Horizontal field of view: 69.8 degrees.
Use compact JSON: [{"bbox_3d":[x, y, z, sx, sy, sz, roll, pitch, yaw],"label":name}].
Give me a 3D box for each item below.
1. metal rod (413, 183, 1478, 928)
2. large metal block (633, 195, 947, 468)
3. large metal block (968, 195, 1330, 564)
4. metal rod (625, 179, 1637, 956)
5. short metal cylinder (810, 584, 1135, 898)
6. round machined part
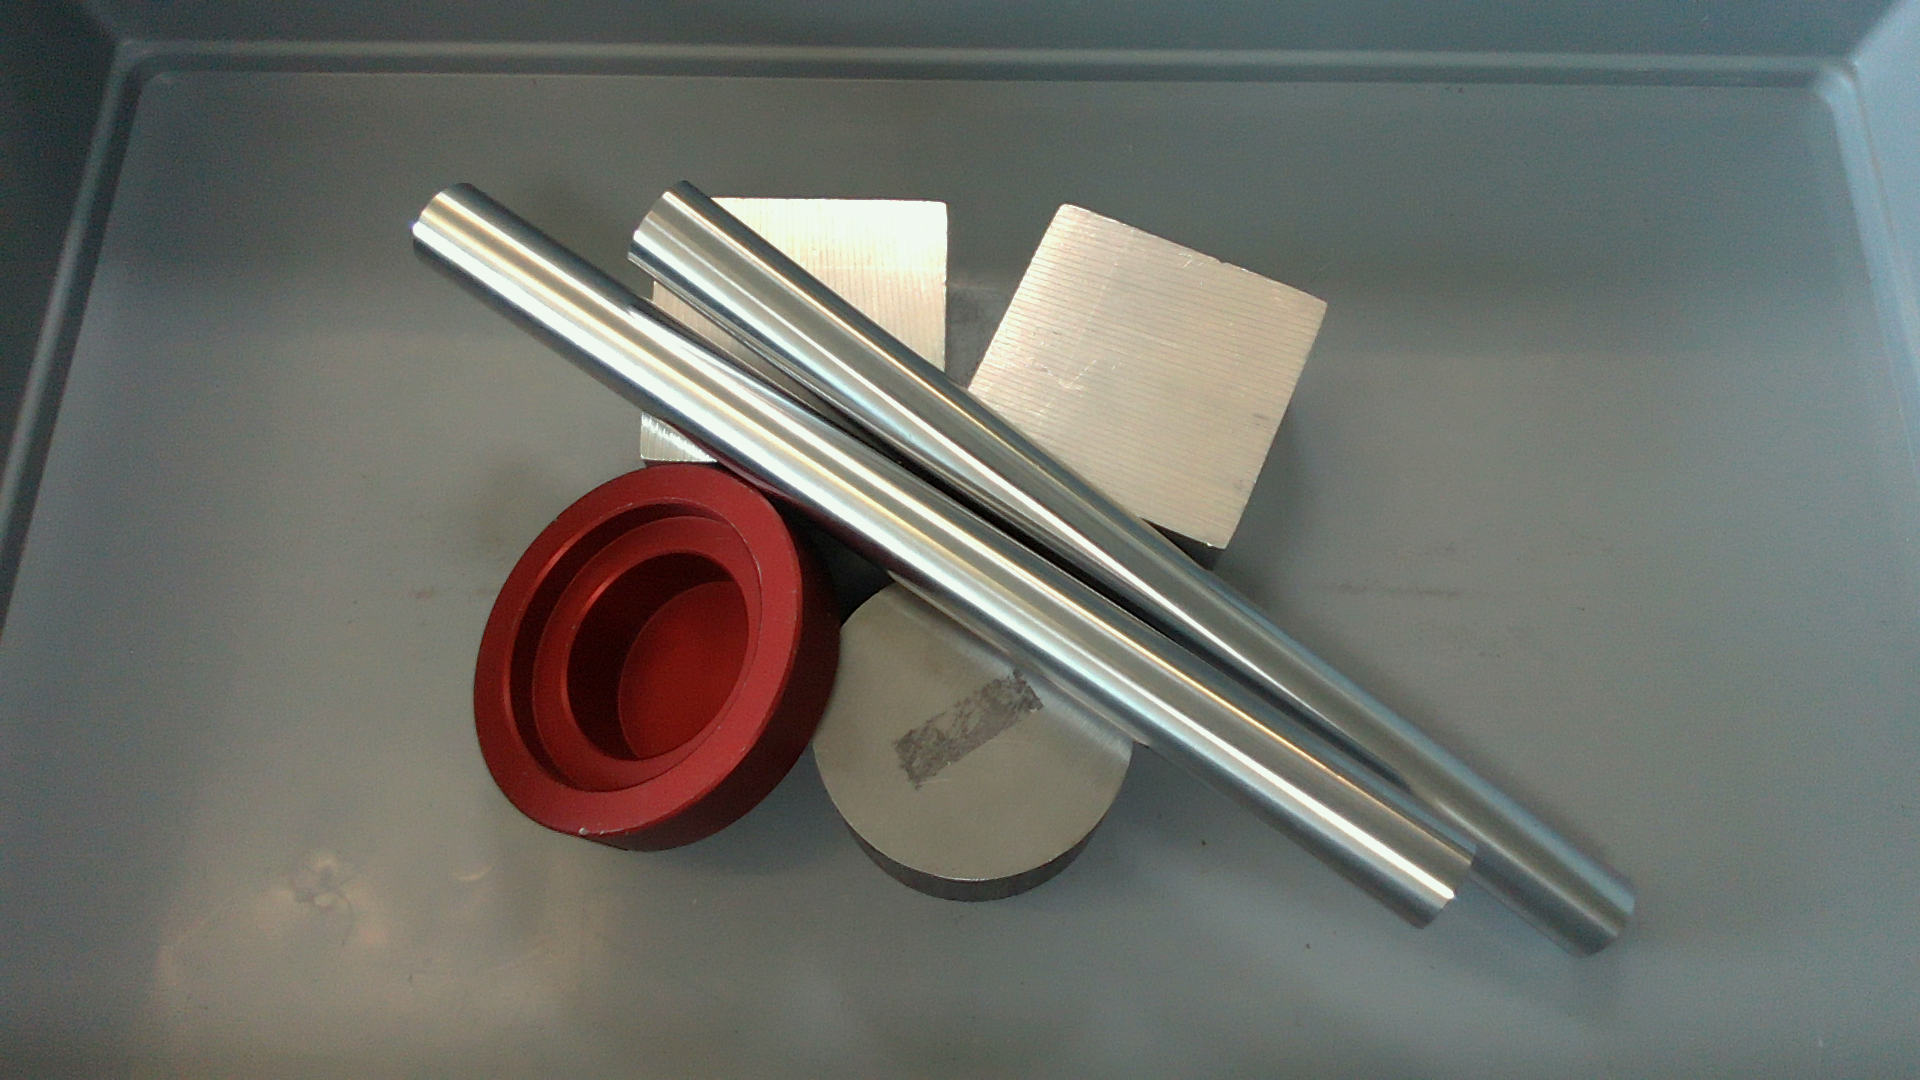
[{"bbox_3d":[-0.013,-0.003,0.340,0.300,0.025,0.025,33,73,10],"label":"metal rod"},{"bbox_3d":[-0.044,-0.050,0.395,0.080,0.050,0.080,1,70,0],"label":"large metal block"},{"bbox_3d":[0.049,-0.039,0.393,0.080,0.050,0.080,23,72,8],"label":"large metal block"},{"bbox_3d":[0.045,0.009,0.350,0.300,0.025,0.025,36,73,-3],"label":"metal rod"},{"bbox_3d":[0.003,0.052,0.360,0.080,0.050,0.080,0,70,0],"label":"short metal cylinder"},{"bbox_3d":[-0.075,0.033,0.360,0.098,0.042,0.098,-10,65,22],"label":"round machined part"}]
